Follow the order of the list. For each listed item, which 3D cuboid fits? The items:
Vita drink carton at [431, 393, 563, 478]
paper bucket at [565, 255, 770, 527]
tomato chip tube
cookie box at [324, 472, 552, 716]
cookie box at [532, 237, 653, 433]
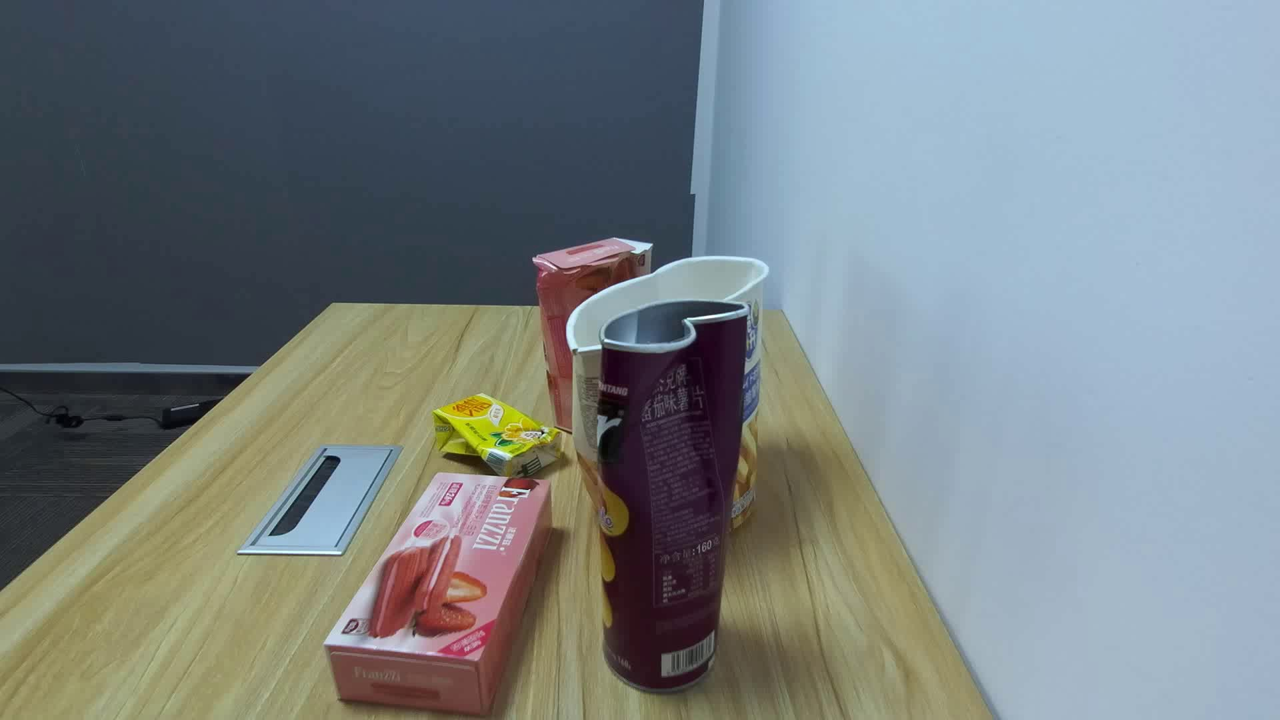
[{"bbox_3d":[-0.135,0.075,0.671,0.108,0.042,0.087,22,24,29],"label":"Vita drink carton"},{"bbox_3d":[0.030,0.029,0.575,0.147,0.199,0.218,3,25,4],"label":"paper bucket"},{"bbox_3d":[0.018,0.086,0.422,0.077,0.235,0.076,6,26,10],"label":"tomato chip tube"},{"bbox_3d":[-0.128,0.152,0.497,0.096,0.048,0.184,3,24,5],"label":"cookie box"},{"bbox_3d":[-0.041,-0.020,0.705,0.055,0.184,0.119,19,30,41],"label":"cookie box"}]
